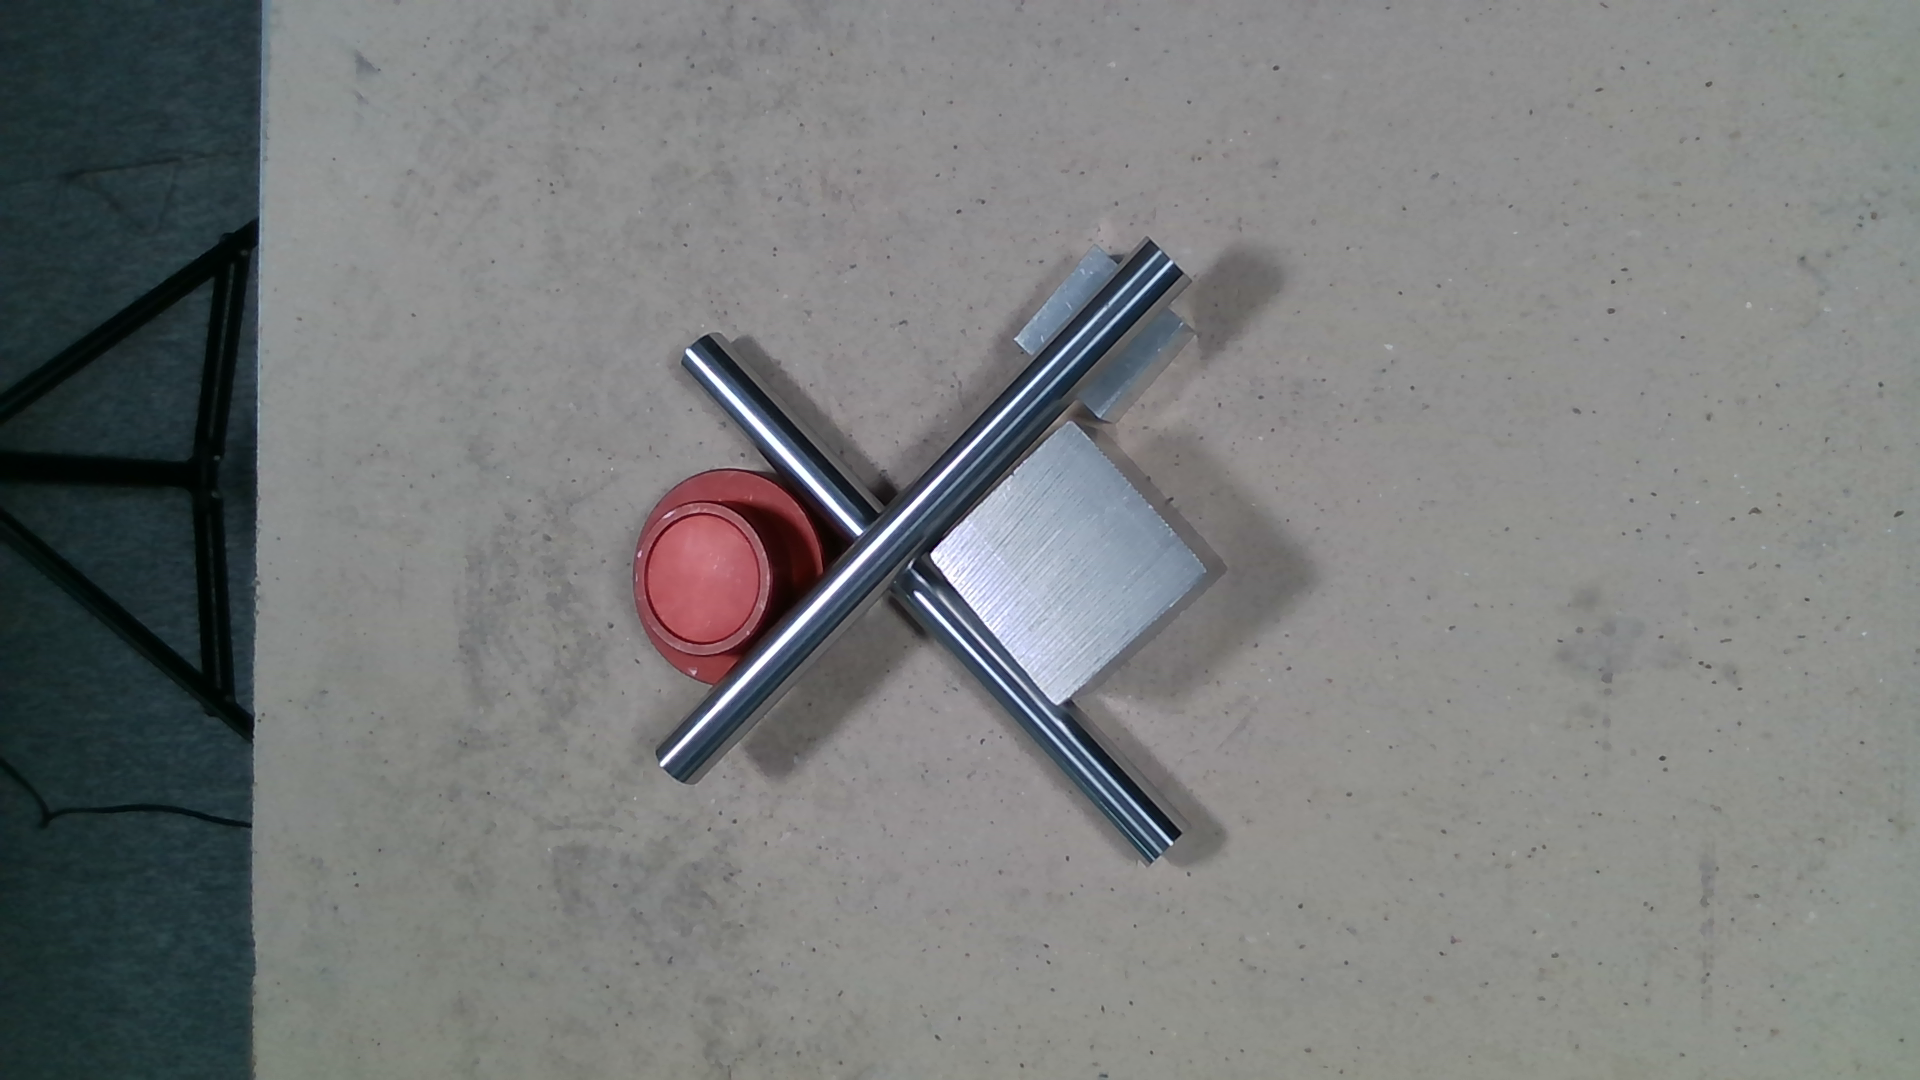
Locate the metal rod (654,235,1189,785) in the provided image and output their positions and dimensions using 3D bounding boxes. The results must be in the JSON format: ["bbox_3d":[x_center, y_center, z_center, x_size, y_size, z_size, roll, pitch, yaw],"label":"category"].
[{"bbox_3d":[-0.022,-0.005,0.567,0.300,0.025,0.025,-45,76,15],"label":"metal rod"}]

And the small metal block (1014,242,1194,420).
[{"bbox_3d":[0.060,-0.084,0.564,0.050,0.025,0.050,45,104,14],"label":"small metal block"}]

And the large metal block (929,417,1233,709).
[{"bbox_3d":[0.049,0.009,0.556,0.080,0.050,0.080,-44,76,15],"label":"large metal block"}]

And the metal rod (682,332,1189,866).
[{"bbox_3d":[-0.017,0.019,0.594,0.300,0.025,0.025,46,105,14],"label":"metal rod"}]

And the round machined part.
[{"bbox_3d":[-0.105,0.017,0.615,0.098,0.042,0.098,0,91,20],"label":"round machined part"}]
